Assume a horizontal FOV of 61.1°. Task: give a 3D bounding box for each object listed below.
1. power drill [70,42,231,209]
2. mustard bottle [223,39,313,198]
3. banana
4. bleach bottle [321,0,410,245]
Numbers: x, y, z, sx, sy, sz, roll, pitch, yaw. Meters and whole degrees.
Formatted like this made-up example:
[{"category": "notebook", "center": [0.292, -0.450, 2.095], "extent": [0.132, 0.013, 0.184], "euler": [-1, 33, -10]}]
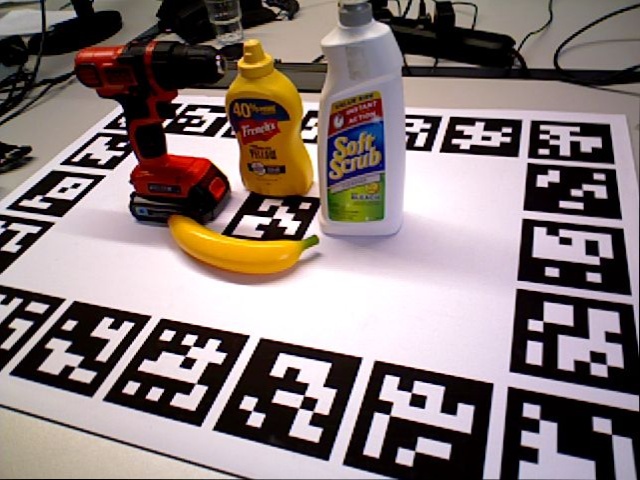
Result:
[{"category": "power drill", "center": [-0.180, -0.130, 0.623], "extent": [0.185, 0.191, 0.056], "euler": [7, 36, 13]}, {"category": "mustard bottle", "center": [-0.064, -0.143, 0.645], "extent": [0.096, 0.195, 0.057], "euler": [8, 43, 17]}, {"category": "banana", "center": [-0.093, 0.006, 0.596], "extent": [0.198, 0.039, 0.072], "euler": [8, 48, 21]}, {"category": "bleach bottle", "center": [0.040, -0.108, 0.552], "extent": [0.103, 0.255, 0.066], "euler": [1, 43, 11]}]
